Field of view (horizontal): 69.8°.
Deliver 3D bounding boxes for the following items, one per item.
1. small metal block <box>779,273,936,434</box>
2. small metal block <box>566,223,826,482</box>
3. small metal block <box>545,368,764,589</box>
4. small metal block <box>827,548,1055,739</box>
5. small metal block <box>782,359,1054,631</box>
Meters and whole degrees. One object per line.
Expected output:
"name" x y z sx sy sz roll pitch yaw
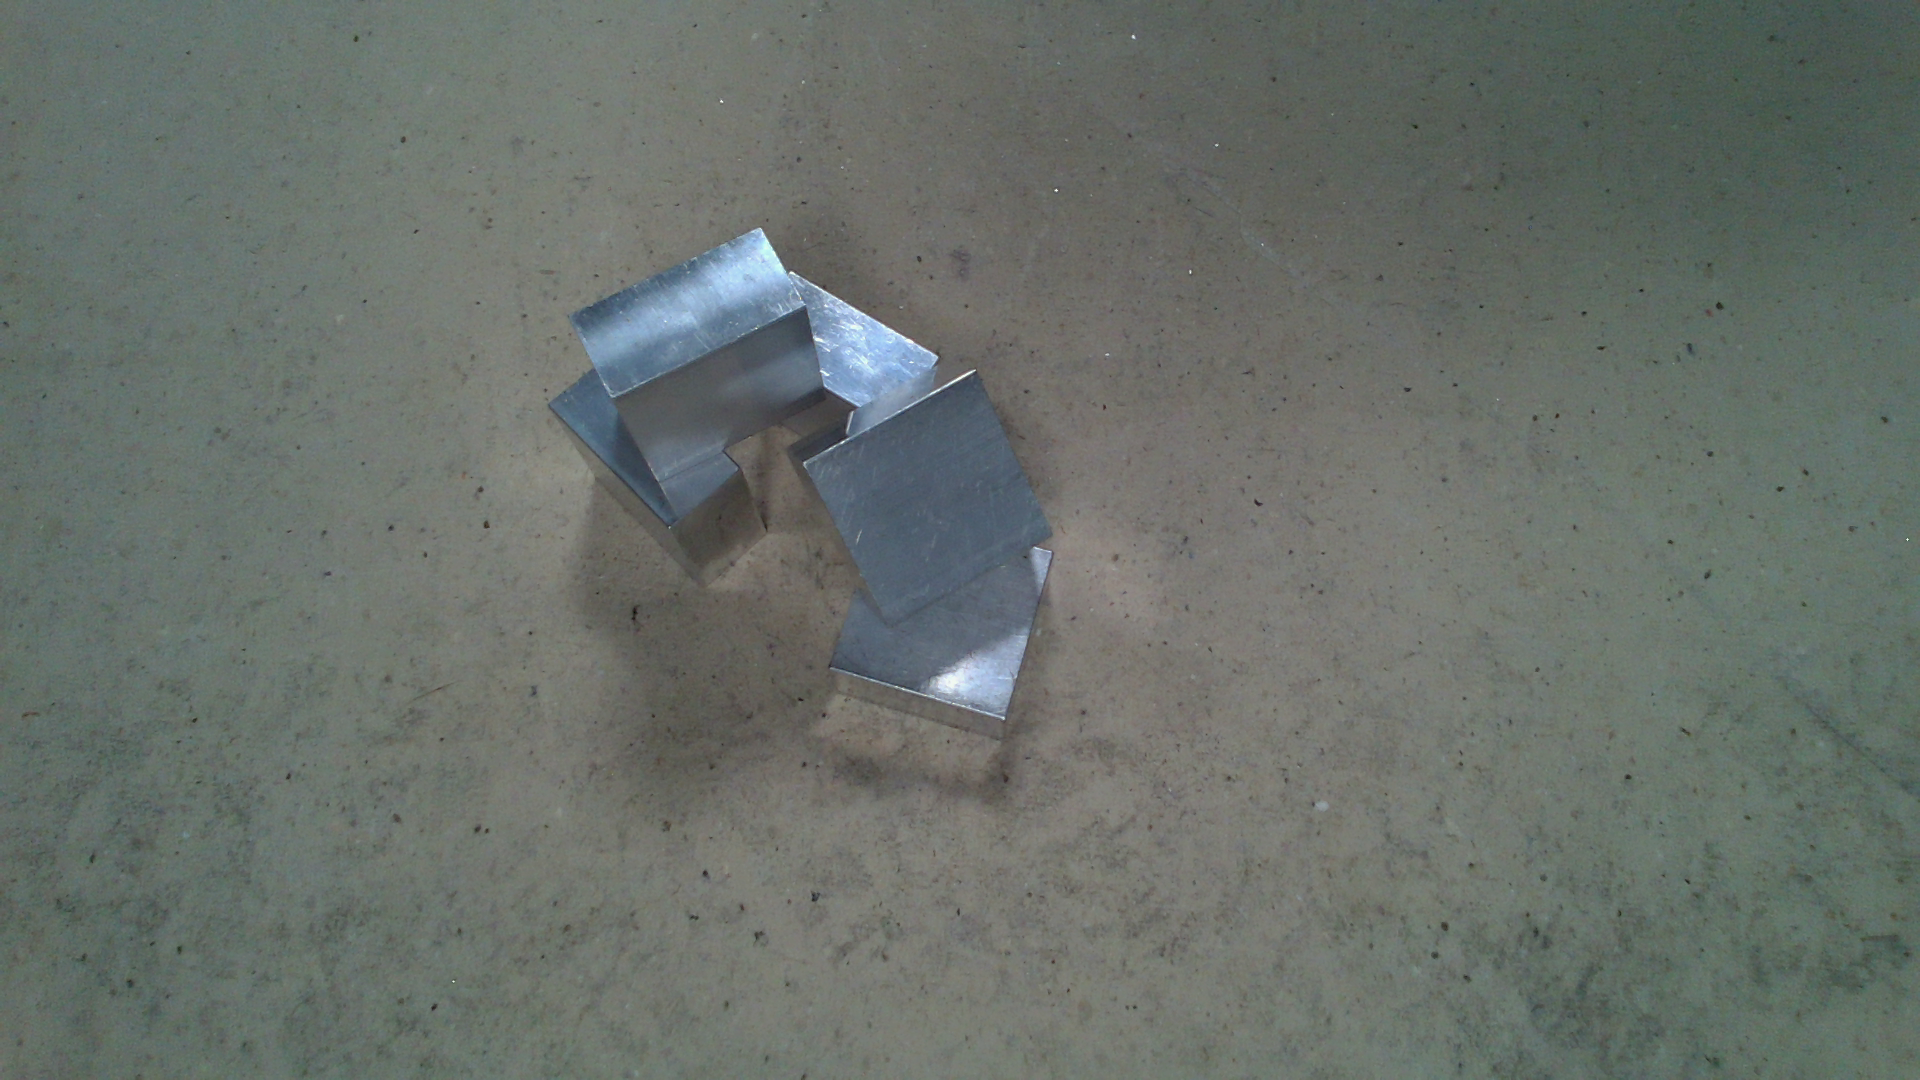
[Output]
"small metal block" -0.033 -0.044 0.398 0.050 0.050 0.025 31 73 11
"small metal block" -0.064 -0.046 0.345 0.050 0.050 0.025 -28 72 -10
"small metal block" -0.084 -0.019 0.389 0.025 0.050 0.050 -43 75 -14
"small metal block" -0.005 0.023 0.386 0.050 0.025 0.050 15 71 5
"small metal block" -0.011 -0.013 0.360 0.050 0.025 0.050 -30 110 -10
